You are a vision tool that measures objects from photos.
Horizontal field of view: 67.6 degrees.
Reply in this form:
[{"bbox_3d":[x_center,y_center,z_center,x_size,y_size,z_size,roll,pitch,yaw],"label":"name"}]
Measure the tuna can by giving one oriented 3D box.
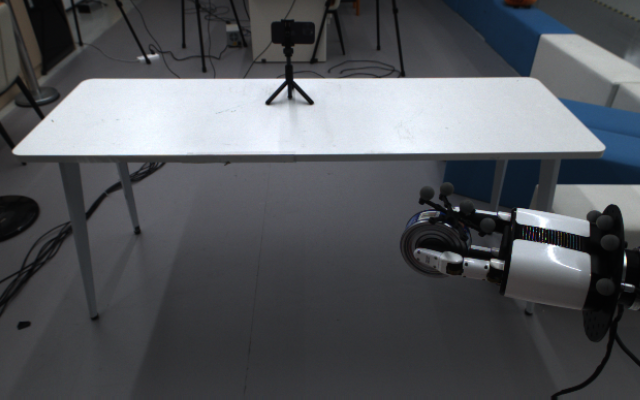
[{"bbox_3d":[0.150,0.062,0.611,0.085,0.085,0.034,15,31,18],"label":"tuna can"}]
